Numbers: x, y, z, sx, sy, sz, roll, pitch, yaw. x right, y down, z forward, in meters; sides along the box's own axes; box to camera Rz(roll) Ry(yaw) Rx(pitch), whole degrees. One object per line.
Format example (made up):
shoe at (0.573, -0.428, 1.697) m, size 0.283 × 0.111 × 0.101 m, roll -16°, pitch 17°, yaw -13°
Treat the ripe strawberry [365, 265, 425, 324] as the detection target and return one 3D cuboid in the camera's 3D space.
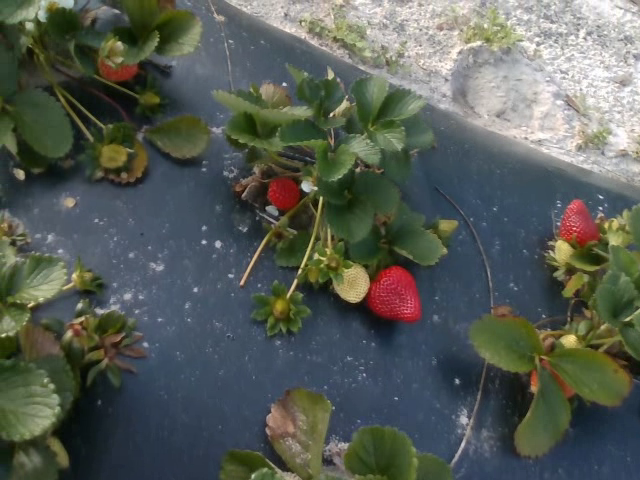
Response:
ripe strawberry at (0.068, 0.054, 0.554) m, size 0.048 × 0.051 × 0.055 m, roll 42°, pitch 10°, yaw -40°
